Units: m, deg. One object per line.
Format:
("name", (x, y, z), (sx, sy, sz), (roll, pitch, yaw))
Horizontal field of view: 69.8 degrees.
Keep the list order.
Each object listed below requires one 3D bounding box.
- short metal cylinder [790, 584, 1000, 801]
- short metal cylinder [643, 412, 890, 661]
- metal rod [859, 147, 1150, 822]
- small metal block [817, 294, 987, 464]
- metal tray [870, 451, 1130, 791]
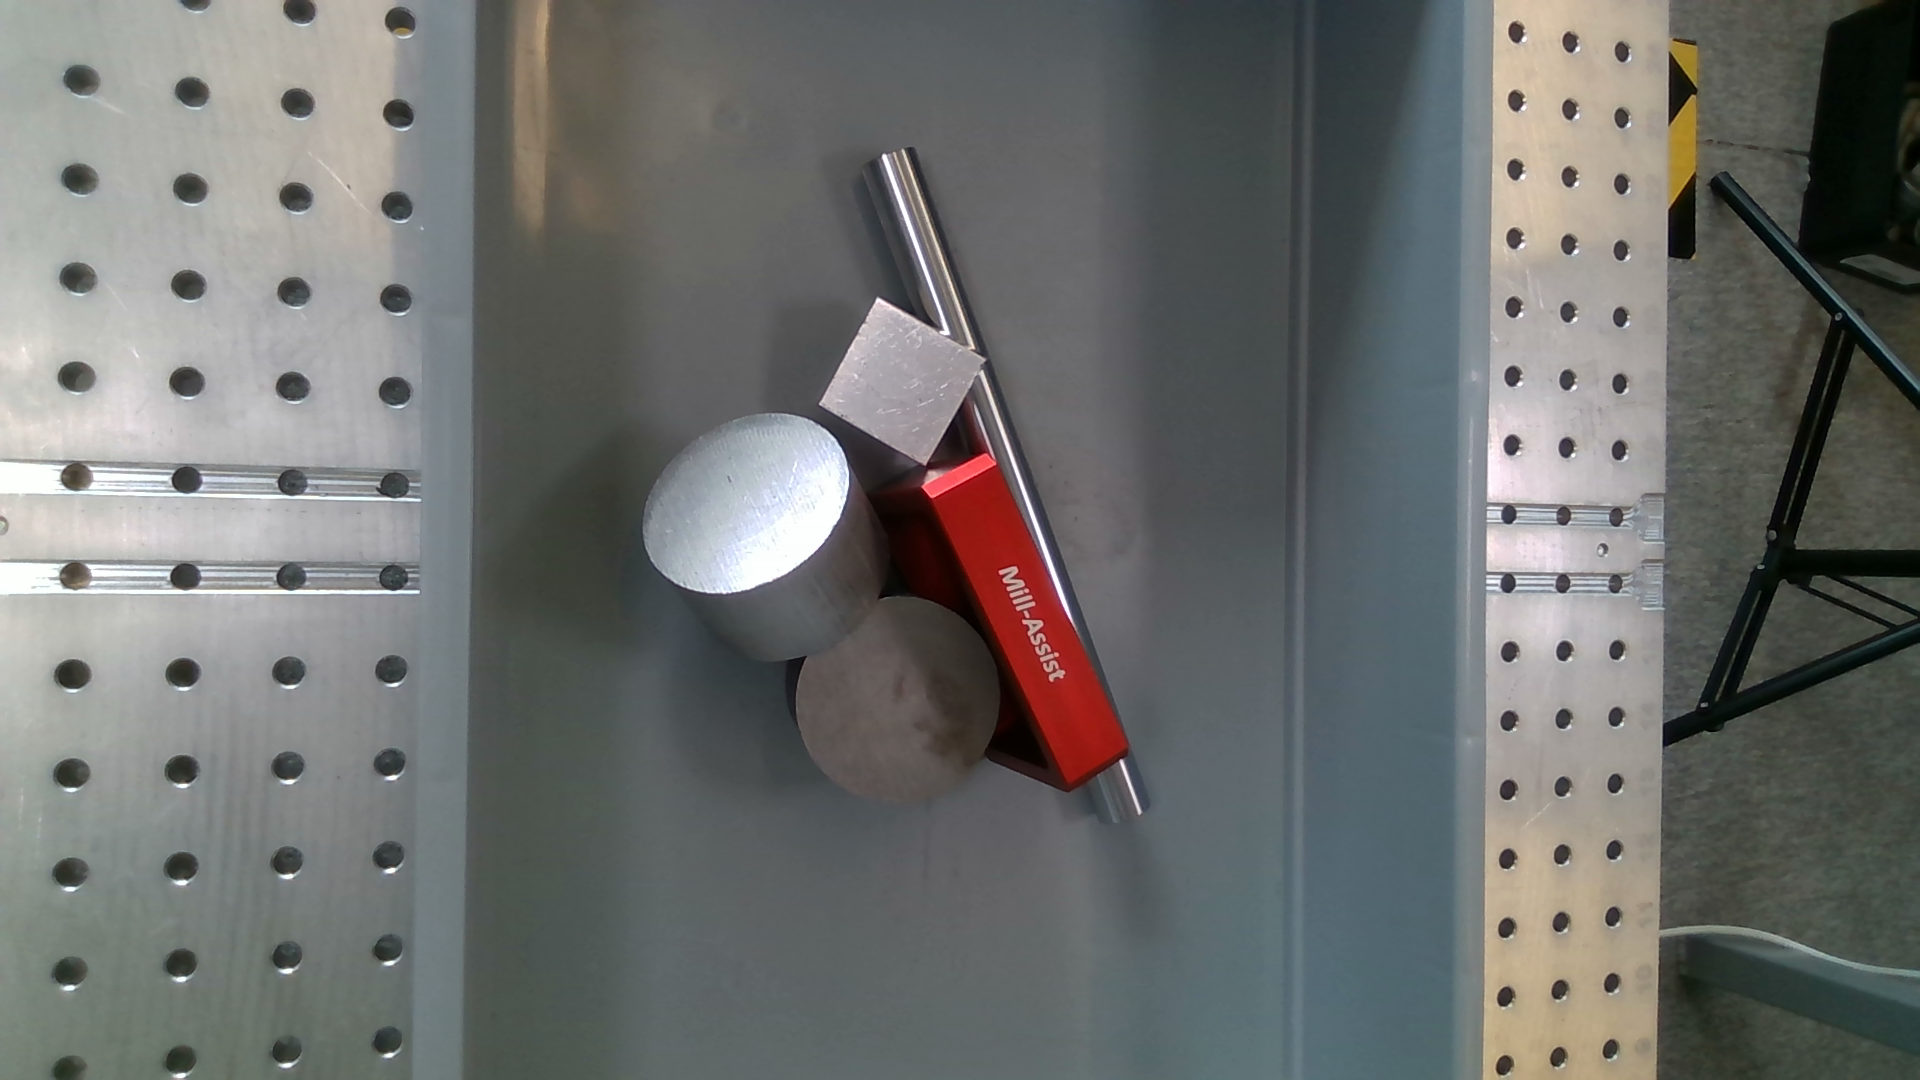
("short metal cylinder", (-0.028, 0.060, 0.556), (0.080, 0.050, 0.080), (-1, 94, -12))
("short metal cylinder", (-0.072, -0.001, 0.522), (0.080, 0.080, 0.050), (-45, 146, -15))
("metal rod", (0.021, -0.020, 0.593), (0.025, 0.025, 0.300), (-23, 98, -19))
("small metal block", (-0.023, -0.066, 0.563), (0.050, 0.025, 0.050), (30, 99, -2))
("metal tray", (0.012, 0.031, 0.555), (0.030, 0.090, 0.130), (-28, 100, -18))
